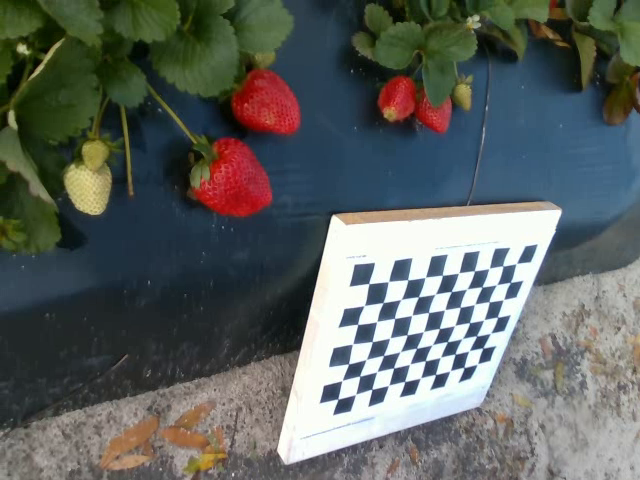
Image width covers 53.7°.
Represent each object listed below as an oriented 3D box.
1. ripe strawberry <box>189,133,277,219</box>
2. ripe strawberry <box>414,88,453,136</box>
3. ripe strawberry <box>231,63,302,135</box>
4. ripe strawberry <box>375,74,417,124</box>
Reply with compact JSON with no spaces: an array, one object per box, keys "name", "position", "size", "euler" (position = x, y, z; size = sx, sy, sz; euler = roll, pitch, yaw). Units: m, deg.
[{"name":"ripe strawberry","position":[-0.064,-0.044,0.486],"size":[0.065,0.059,0.044],"euler":[35,13,-27]},{"name":"ripe strawberry","position":[0.107,-0.113,0.576],"size":[0.043,0.049,0.041],"euler":[-9,-28,-29]},{"name":"ripe strawberry","position":[-0.039,-0.104,0.497],"size":[0.059,0.051,0.051],"euler":[38,15,5]},{"name":"ripe strawberry","position":[0.067,-0.119,0.560],"size":[0.038,0.047,0.053],"euler":[18,47,22]}]
